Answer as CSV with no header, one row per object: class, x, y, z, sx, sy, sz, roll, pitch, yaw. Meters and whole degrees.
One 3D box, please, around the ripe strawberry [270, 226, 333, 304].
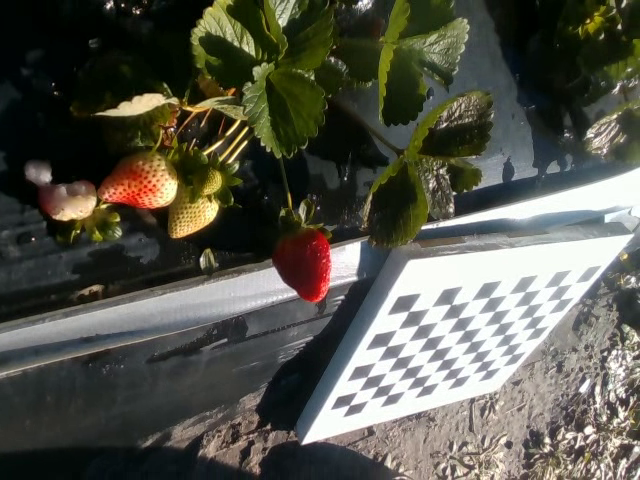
ripe strawberry,-0.008,0.016,0.335,0.036,0.046,0.038,-3,-29,-28
